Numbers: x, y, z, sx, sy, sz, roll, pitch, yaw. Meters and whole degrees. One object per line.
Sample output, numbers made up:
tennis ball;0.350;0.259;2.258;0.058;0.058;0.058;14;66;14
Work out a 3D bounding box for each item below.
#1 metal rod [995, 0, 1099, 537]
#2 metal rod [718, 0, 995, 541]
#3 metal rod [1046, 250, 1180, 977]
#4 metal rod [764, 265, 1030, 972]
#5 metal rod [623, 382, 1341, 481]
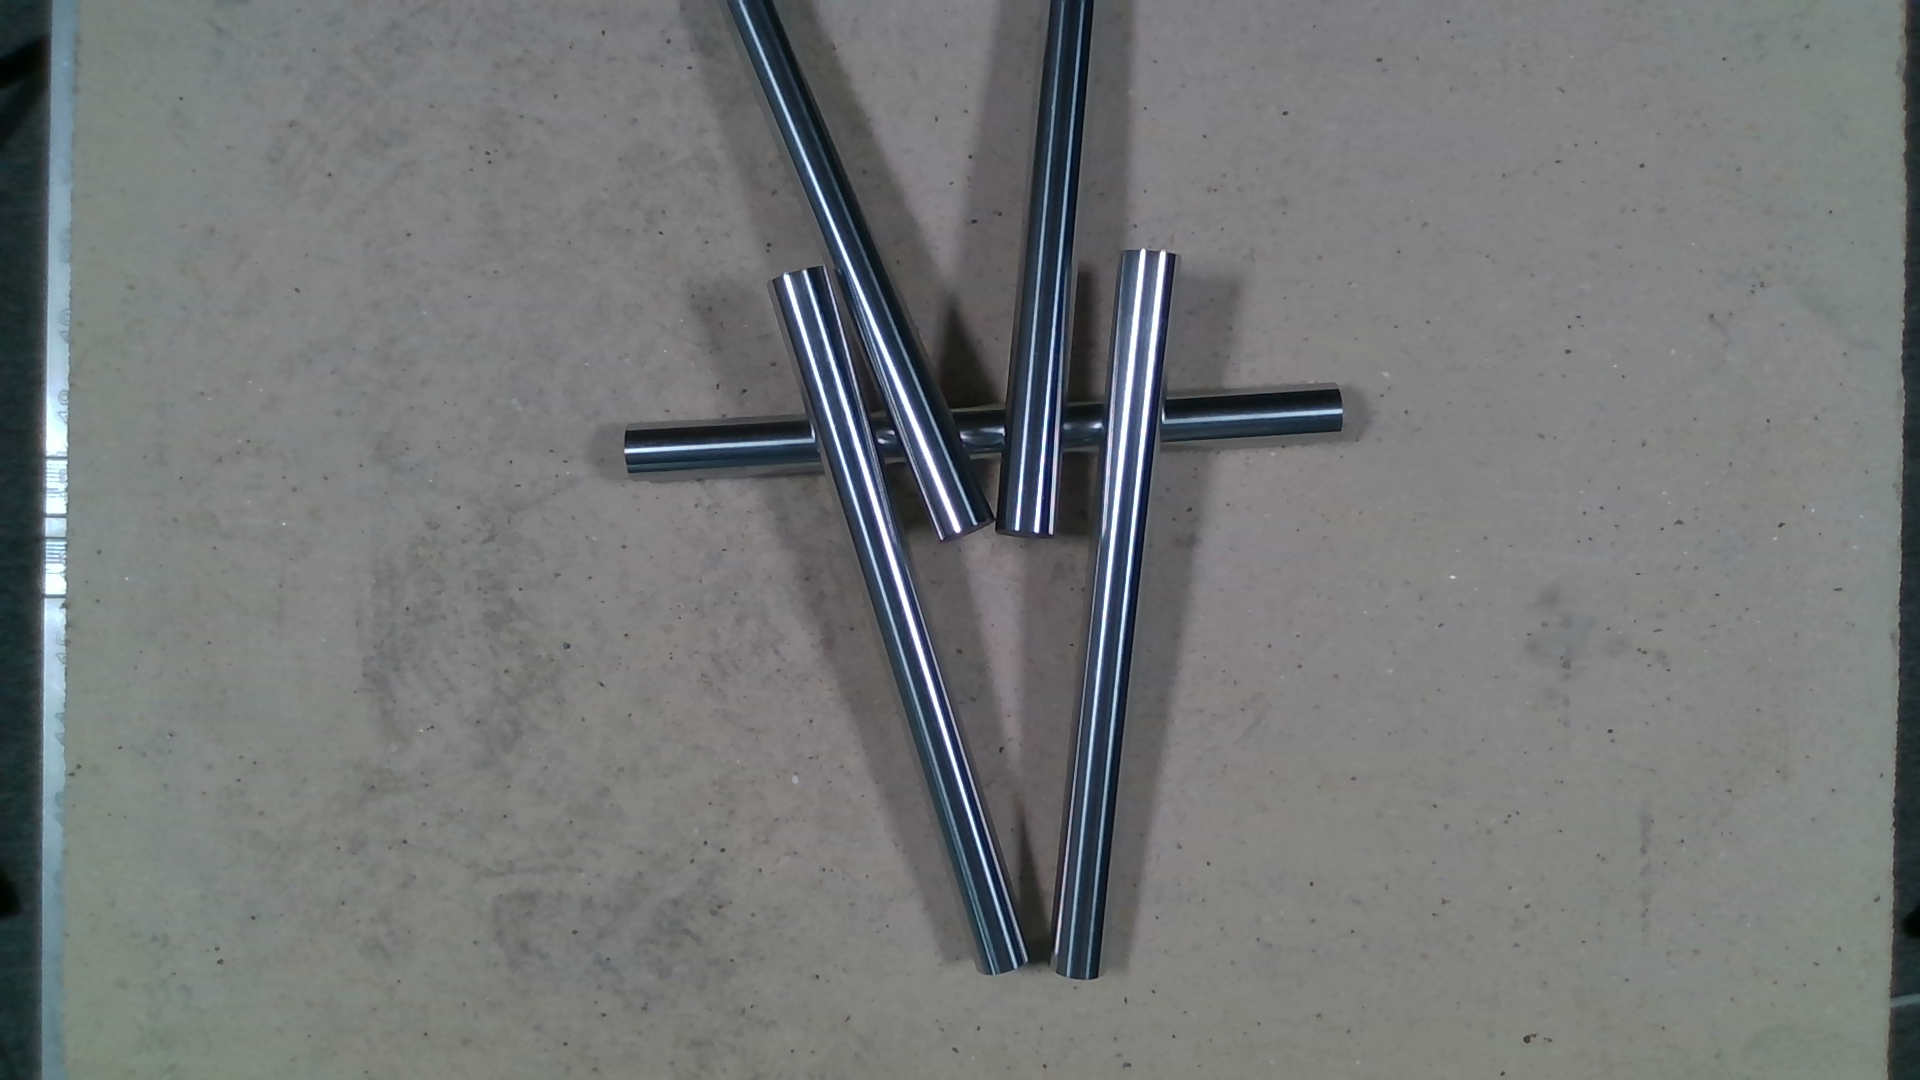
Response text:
metal rod;0.040;-0.150;0.572;0.025;0.025;0.300;5;85;0
metal rod;-0.054;-0.142;0.572;0.025;0.025;0.300;-22;85;0
metal rod;0.063;0.033;0.571;0.025;0.025;0.300;5;97;0
metal rod;-0.024;0.036;0.572;0.025;0.025;0.300;-17;97;0
metal rod;0.009;-0.046;0.587;0.300;0.025;0.025;-3;90;0
